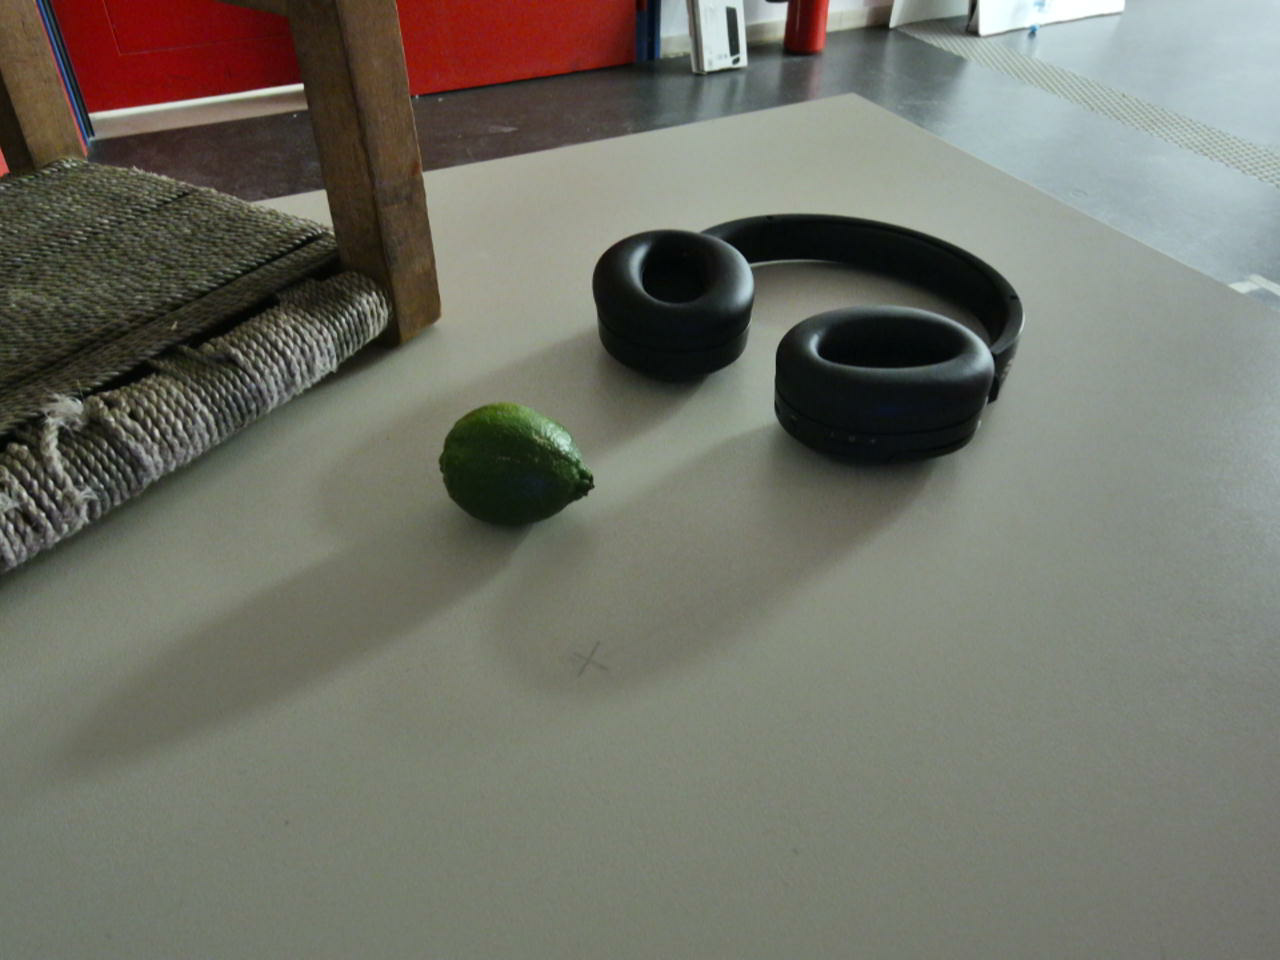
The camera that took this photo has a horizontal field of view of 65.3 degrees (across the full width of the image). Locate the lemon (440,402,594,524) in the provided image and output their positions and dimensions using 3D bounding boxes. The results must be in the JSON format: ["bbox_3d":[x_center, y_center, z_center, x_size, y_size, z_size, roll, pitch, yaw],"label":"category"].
[{"bbox_3d":[-0.054,-0.007,0.417,0.057,0.051,0.054,-20,42,-24],"label":"lemon"}]
